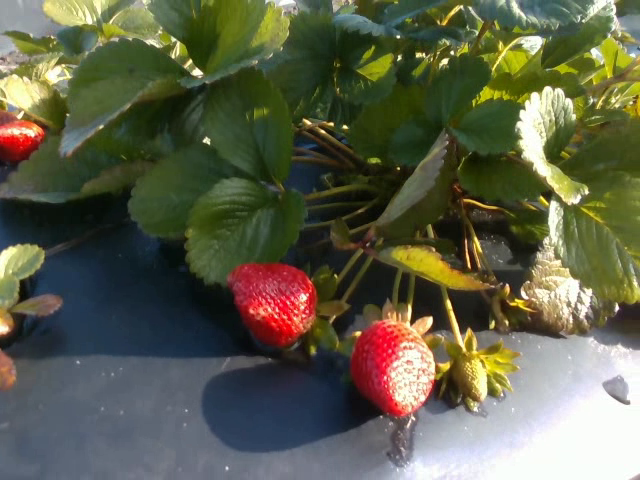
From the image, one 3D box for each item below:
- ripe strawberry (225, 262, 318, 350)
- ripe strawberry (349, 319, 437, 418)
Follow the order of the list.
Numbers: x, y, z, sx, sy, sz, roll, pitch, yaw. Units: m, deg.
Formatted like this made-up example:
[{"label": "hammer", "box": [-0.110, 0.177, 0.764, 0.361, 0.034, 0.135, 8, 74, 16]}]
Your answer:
[{"label": "ripe strawberry", "box": [-0.022, 0.029, 0.293, 0.054, 0.048, 0.039, 17, -35, -38]}, {"label": "ripe strawberry", "box": [0.032, 0.055, 0.256, 0.043, 0.039, 0.053, 27, 17, -4]}]
